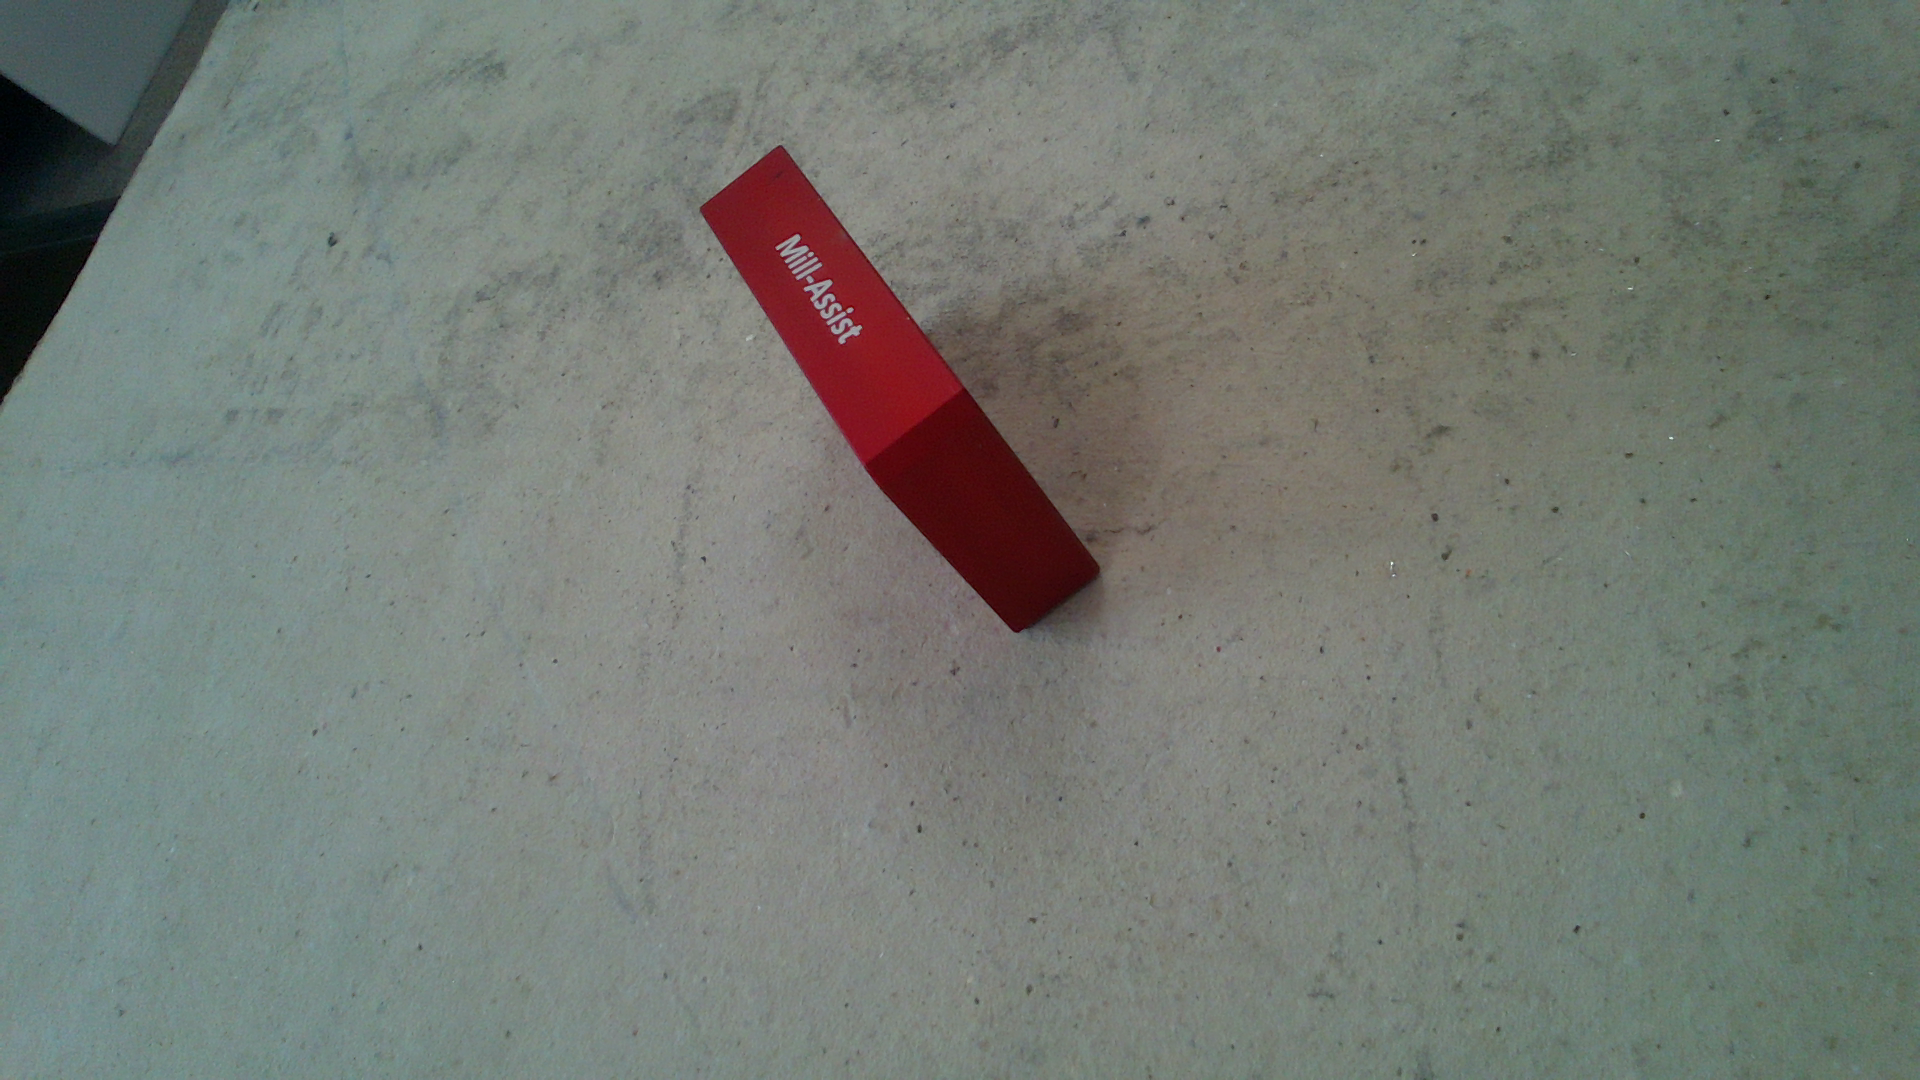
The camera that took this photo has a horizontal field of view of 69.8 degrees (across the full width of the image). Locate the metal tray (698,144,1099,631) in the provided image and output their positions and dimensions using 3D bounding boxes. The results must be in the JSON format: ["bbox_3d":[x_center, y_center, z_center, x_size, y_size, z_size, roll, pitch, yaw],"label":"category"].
[{"bbox_3d":[-0.018,-0.044,0.388,0.030,0.090,0.130,-37,51,4],"label":"metal tray"}]
